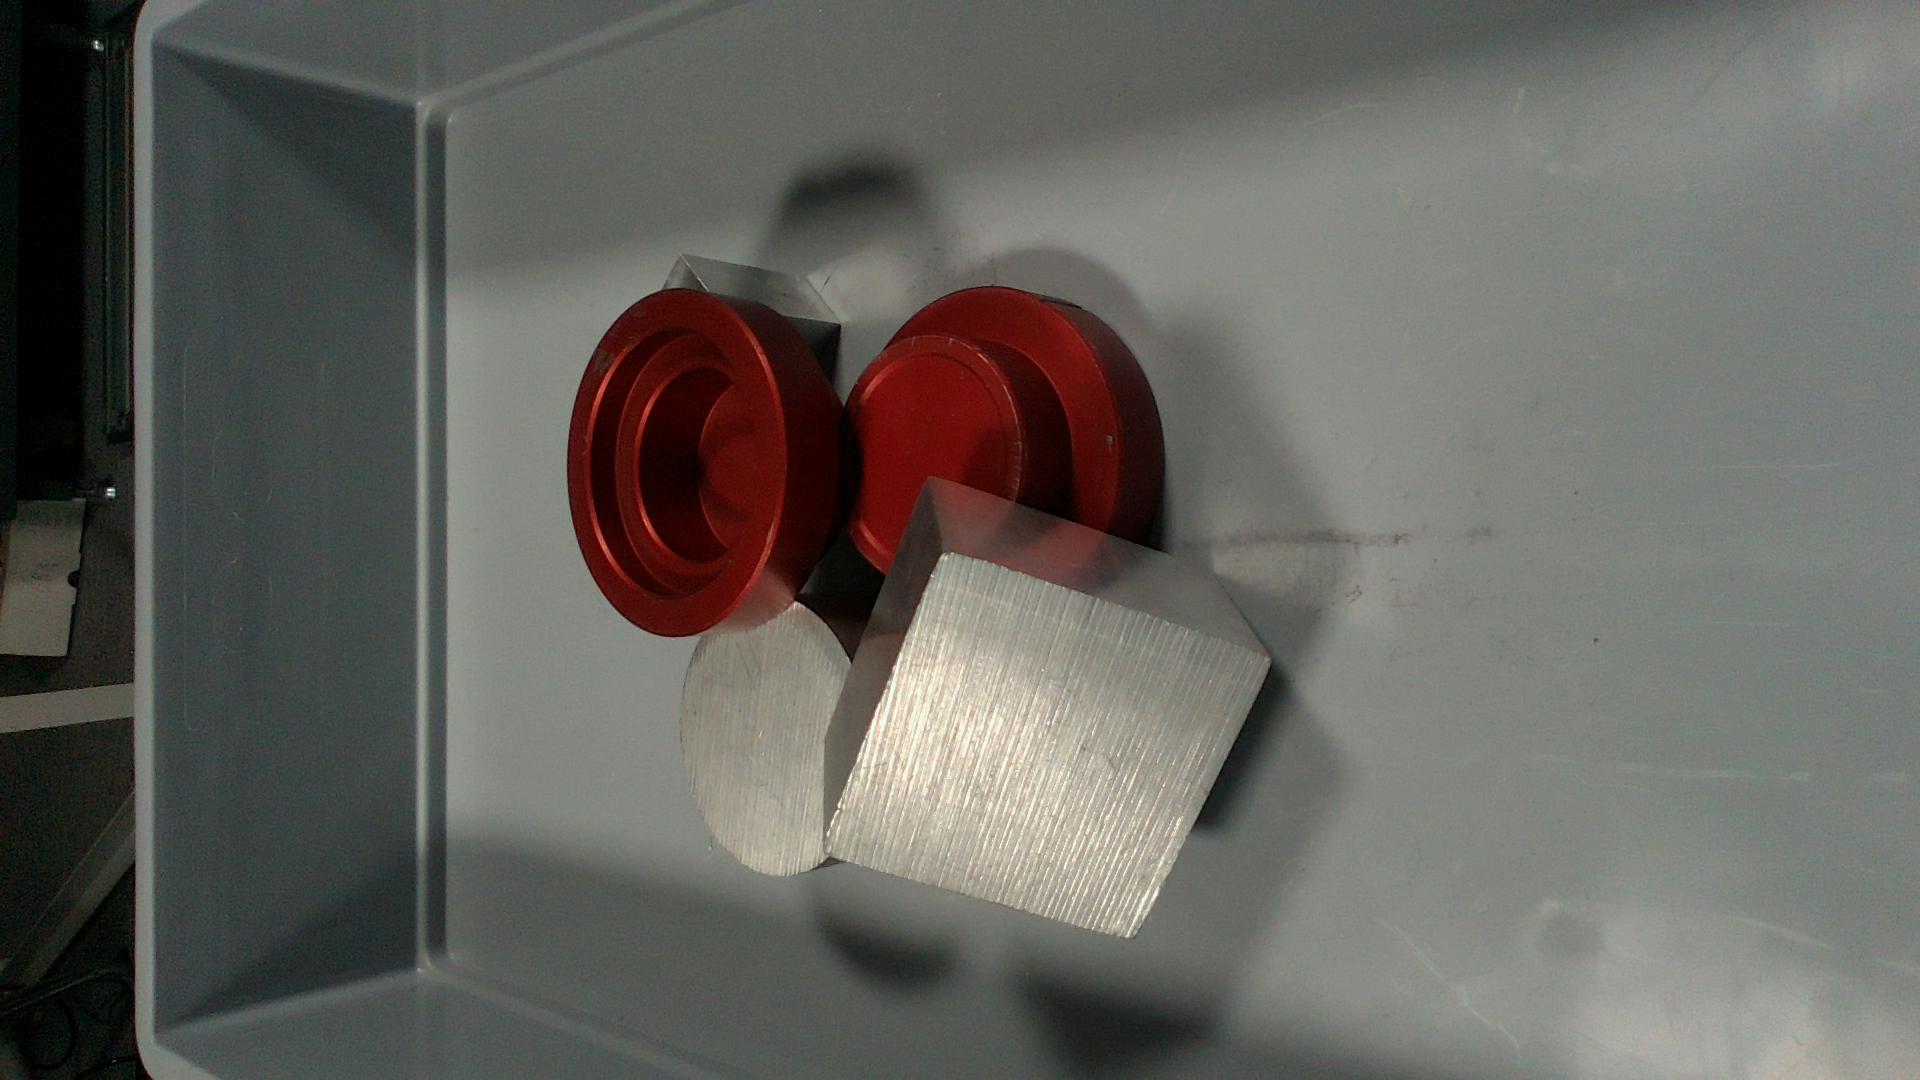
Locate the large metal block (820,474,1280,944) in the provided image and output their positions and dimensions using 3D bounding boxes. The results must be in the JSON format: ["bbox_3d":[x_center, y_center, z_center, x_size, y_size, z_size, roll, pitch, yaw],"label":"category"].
[{"bbox_3d":[0.018,0.041,0.334,0.050,0.080,0.080,-105,35,-69],"label":"large metal block"}]

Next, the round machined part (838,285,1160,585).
[{"bbox_3d":[0.002,-0.021,0.378,0.098,0.042,0.098,0,90,40],"label":"round machined part"}]

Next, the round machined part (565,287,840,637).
[{"bbox_3d":[-0.070,-0.022,0.402,0.098,0.042,0.098,0,90,40],"label":"round machined part"}]

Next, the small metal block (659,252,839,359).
[{"bbox_3d":[-0.075,-0.060,0.439,0.025,0.050,0.050,51,121,28],"label":"small metal block"}]

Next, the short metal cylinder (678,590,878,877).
[{"bbox_3d":[-0.039,0.055,0.409,0.080,0.050,0.080,0,90,40],"label":"short metal cylinder"}]
